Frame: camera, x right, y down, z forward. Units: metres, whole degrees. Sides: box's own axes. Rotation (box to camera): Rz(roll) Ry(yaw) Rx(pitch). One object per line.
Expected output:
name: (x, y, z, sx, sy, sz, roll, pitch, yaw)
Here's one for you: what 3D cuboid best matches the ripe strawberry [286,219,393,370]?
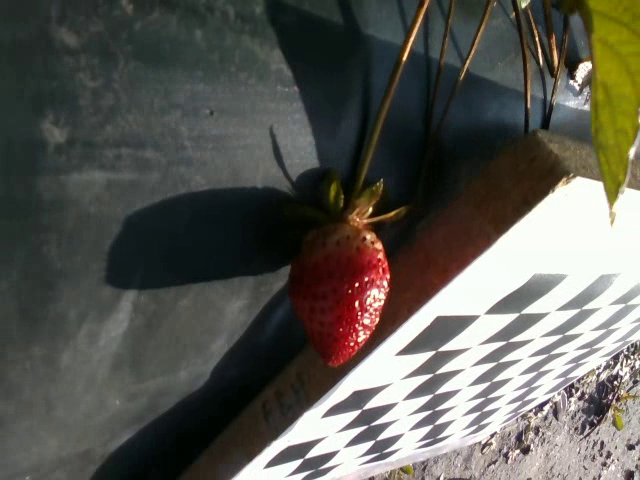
ripe strawberry: (0.004, 0.014, 0.139, 0.035, 0.037, 0.033, 2, -2, -40)
